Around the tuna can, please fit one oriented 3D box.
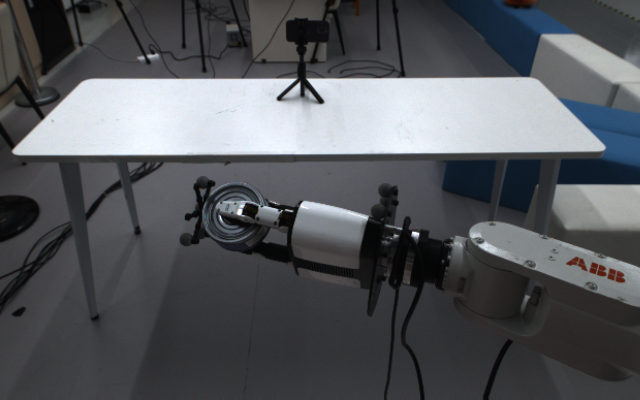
[{"bbox_3d":[-0.105,0.020,0.623,0.085,0.034,0.085,-2,69,6],"label":"tuna can"}]
